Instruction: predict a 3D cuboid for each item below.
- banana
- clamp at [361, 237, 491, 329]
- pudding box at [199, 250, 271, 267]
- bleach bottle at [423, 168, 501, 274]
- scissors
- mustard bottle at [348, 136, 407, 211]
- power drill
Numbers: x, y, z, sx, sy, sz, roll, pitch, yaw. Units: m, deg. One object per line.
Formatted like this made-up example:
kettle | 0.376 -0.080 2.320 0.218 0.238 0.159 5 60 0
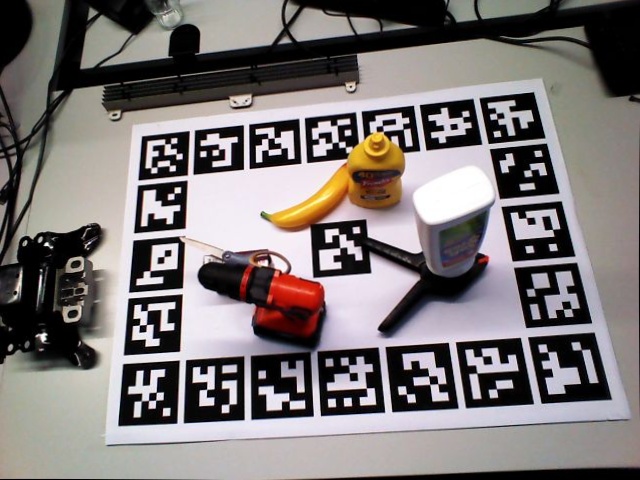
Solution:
banana | -0.006 -0.092 0.926 0.197 0.039 0.074 -41 53 -9
clamp | 0.181 0.048 0.841 0.203 0.037 0.164 -10 70 1
pudding box | -0.135 0.051 0.864 0.114 0.090 0.038 -1 62 6
bleach bottle | 0.205 -0.009 0.747 0.103 0.251 0.067 -24 64 4
scissors | -0.150 0.021 0.808 0.203 0.016 0.087 20 76 9
mustard bottle | 0.096 -0.112 0.852 0.096 0.192 0.058 9 69 9
power drill | -0.080 0.095 0.757 0.185 0.187 0.057 7 62 12
